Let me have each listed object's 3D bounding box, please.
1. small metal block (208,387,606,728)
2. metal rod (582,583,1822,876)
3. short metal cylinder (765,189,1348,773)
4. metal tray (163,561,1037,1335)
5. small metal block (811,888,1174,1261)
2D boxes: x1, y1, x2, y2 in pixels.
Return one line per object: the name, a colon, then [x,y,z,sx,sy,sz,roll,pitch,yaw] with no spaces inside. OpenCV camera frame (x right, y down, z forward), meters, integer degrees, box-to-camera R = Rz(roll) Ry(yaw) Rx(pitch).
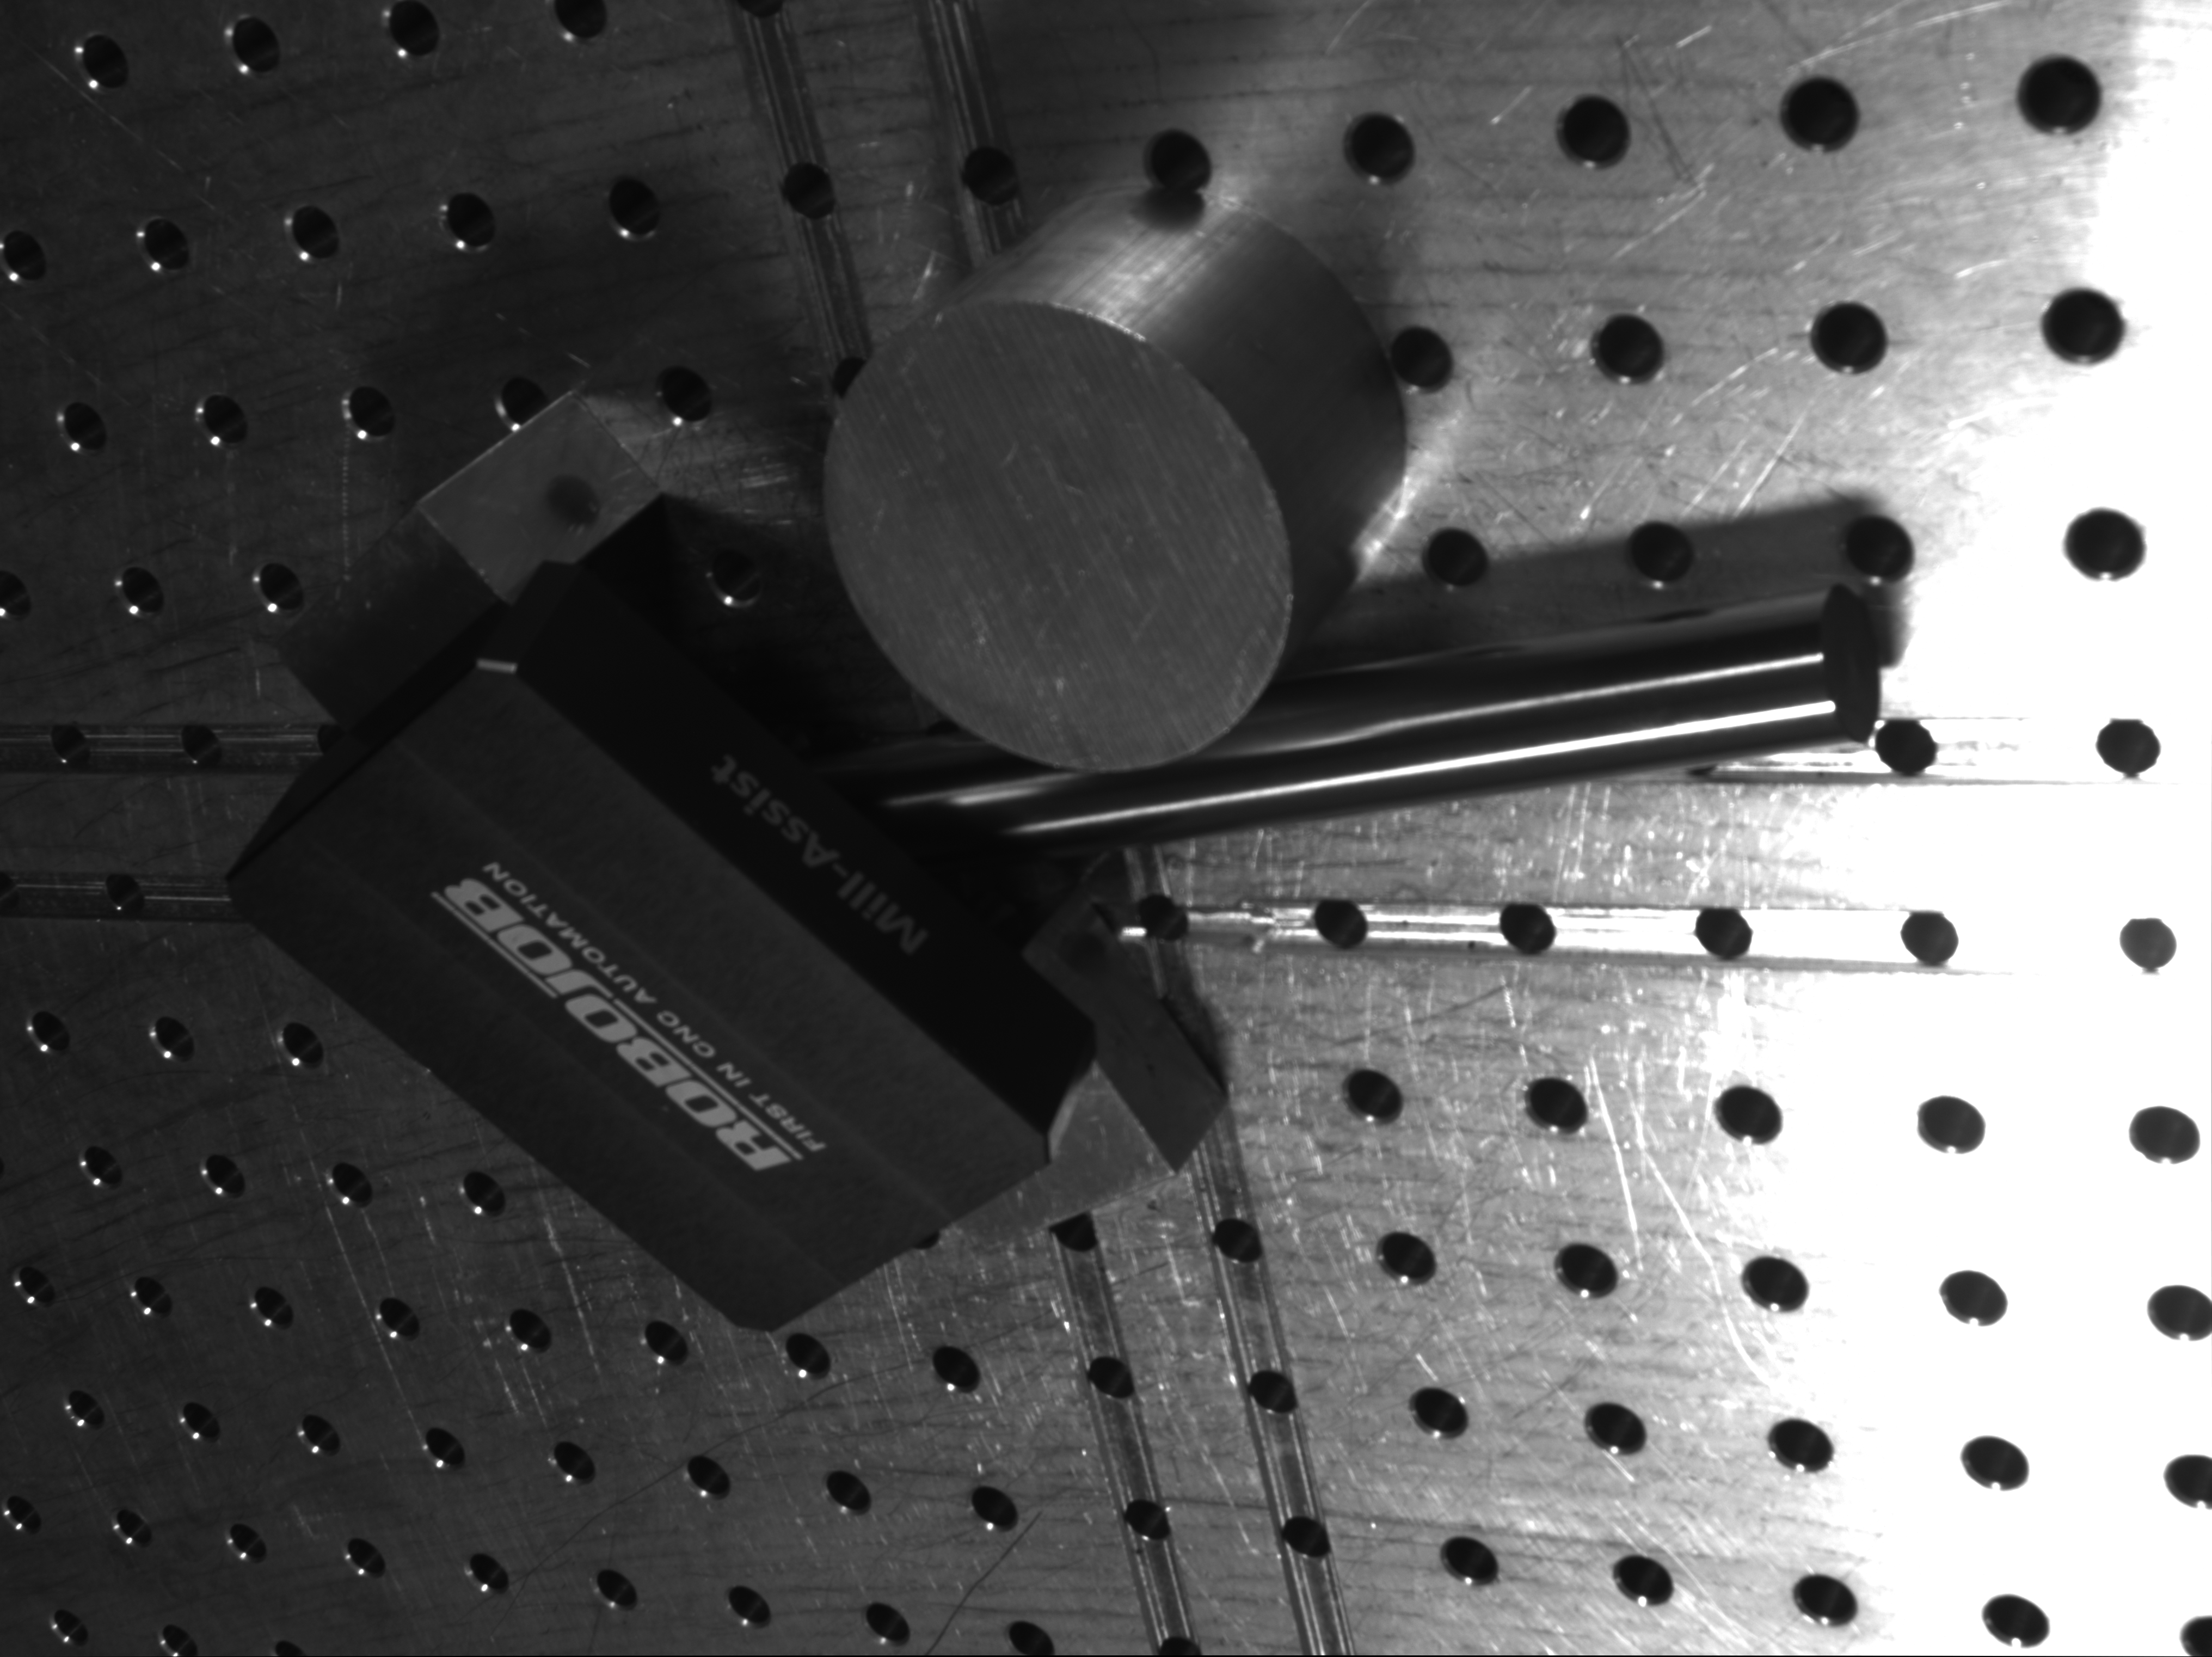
small metal block: [-0.124,-0.046,0.652,0.025,0.050,0.050,49,128,-7]
metal rod: [-0.022,-0.007,0.641,0.299,0.025,0.025,-8,114,30]
short metal cylinder: [-0.007,-0.056,0.588,0.080,0.050,0.080,12,123,20]
metal tray: [-0.088,0.024,0.640,0.130,0.030,0.090,43,129,-17]
small metal block: [-0.025,0.046,0.672,0.050,0.025,0.050,-26,105,35]
